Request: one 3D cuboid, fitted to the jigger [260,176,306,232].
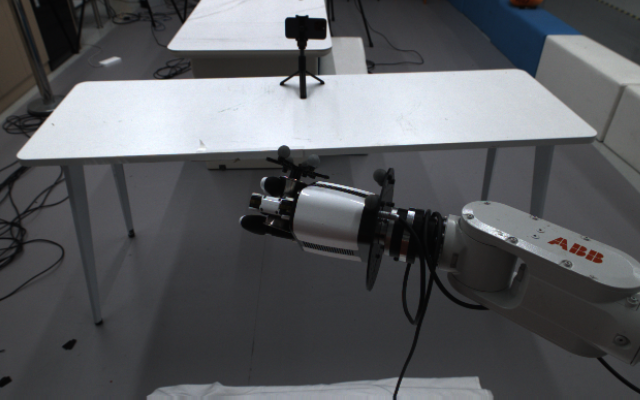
[{"bbox_3d":[-0.045,0.005,0.645,0.043,0.071,0.043,18,-6,2],"label":"jigger"}]
